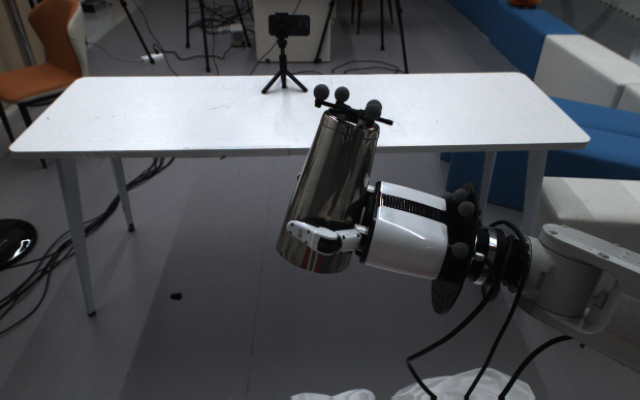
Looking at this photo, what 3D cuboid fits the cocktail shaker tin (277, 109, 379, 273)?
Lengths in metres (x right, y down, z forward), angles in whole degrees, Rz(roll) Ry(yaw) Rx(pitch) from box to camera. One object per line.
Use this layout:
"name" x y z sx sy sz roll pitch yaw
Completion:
"cocktail shaker tin" 0.014 -0.011 0.561 0.093 0.170 0.093 14 20 -5
